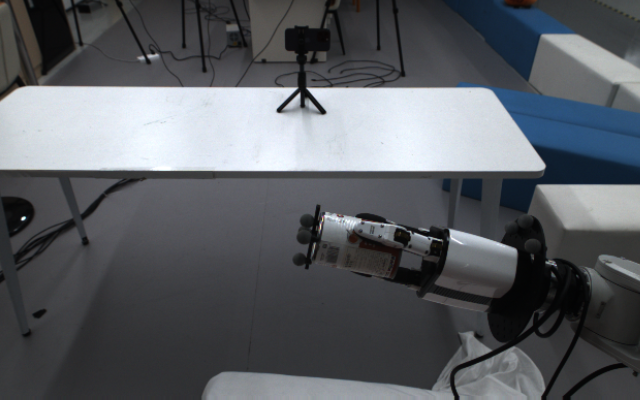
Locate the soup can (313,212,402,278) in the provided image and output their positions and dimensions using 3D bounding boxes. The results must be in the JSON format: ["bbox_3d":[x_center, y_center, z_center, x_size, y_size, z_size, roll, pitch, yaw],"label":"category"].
[{"bbox_3d":[0.048,0.055,0.601,0.101,0.067,0.067,11,35,-2],"label":"soup can"}]
